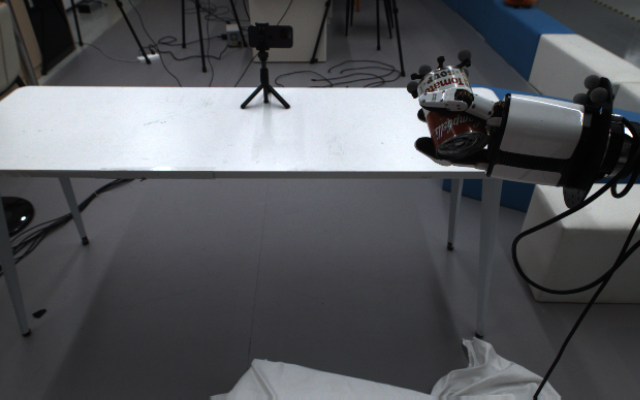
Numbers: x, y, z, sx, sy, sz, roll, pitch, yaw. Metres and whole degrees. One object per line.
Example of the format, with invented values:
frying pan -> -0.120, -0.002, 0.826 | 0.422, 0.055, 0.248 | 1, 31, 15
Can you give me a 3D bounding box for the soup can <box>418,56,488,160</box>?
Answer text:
soup can -> 0.173, -0.114, 0.630 | 0.067, 0.067, 0.101 | -8, 68, -14
